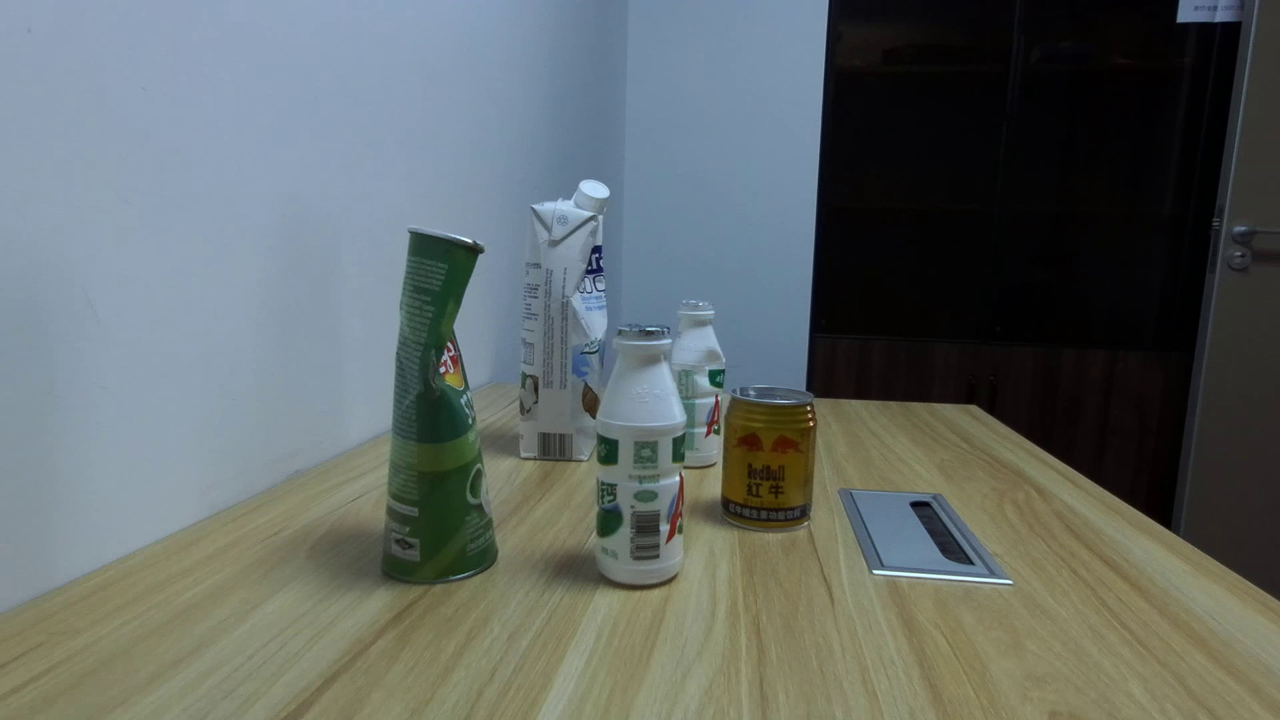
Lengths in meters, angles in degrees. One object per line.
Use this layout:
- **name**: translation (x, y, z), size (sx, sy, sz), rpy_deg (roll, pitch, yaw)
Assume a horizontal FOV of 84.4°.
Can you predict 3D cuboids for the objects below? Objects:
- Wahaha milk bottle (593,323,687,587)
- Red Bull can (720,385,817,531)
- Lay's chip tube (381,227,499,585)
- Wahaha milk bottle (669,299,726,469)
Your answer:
- **Wahaha milk bottle**: translation (0.001, 0.054, 0.412), size (0.053, 0.147, 0.053), rpy_deg (1, 8, 0)
- **Red Bull can**: translation (0.093, 0.070, 0.514), size (0.067, 0.093, 0.067), rpy_deg (3, 7, 0)
- **Lay's chip tube**: translation (-0.119, 0.025, 0.419), size (0.077, 0.201, 0.069), rpy_deg (10, 11, 35)
- **Wahaha milk bottle**: translation (0.052, 0.022, 0.639), size (0.055, 0.149, 0.055), rpy_deg (1, 4, 0)
